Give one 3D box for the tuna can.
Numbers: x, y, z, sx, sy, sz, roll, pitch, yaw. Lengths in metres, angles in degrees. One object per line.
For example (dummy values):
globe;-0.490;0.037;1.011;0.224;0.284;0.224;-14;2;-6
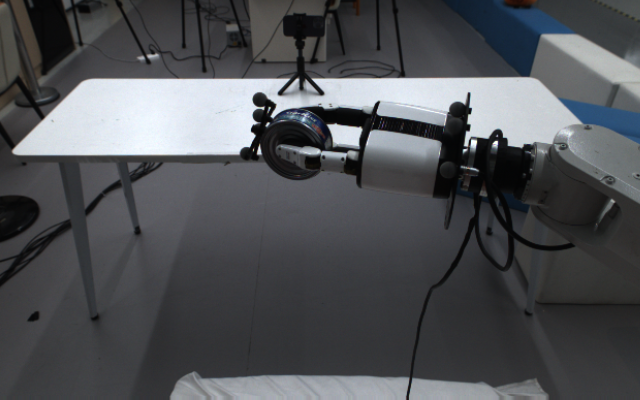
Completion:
tuna can;-0.026;-0.064;0.597;0.085;0.085;0.034;9;35;10
